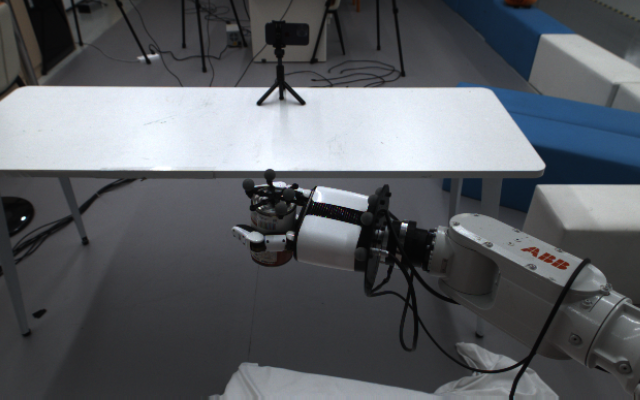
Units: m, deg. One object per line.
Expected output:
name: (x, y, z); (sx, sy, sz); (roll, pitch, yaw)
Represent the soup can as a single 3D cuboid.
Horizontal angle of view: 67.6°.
soup can: (-0.069, 0.041, 0.717); (0.067, 0.101, 0.067); (5, 37, -4)
